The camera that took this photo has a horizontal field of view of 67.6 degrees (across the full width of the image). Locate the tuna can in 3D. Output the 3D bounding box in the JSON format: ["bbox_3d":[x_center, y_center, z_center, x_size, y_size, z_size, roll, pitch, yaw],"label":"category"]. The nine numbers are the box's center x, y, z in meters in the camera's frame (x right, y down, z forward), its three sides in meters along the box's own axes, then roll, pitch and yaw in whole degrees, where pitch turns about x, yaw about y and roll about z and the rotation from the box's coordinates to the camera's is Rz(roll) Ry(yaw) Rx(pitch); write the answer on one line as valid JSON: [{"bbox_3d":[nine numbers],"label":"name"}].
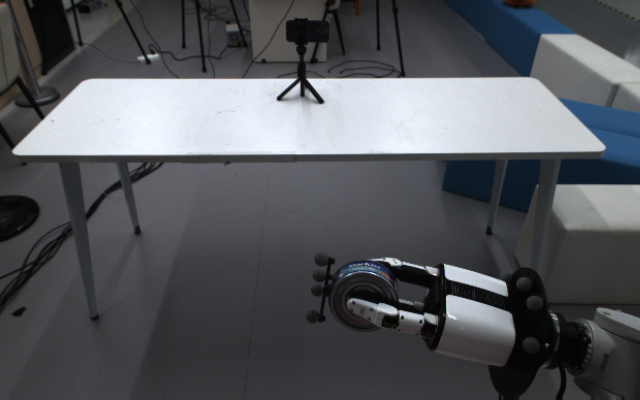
[{"bbox_3d":[0.057,0.122,0.592,0.085,0.085,0.034,5,17,4],"label":"tuna can"}]
